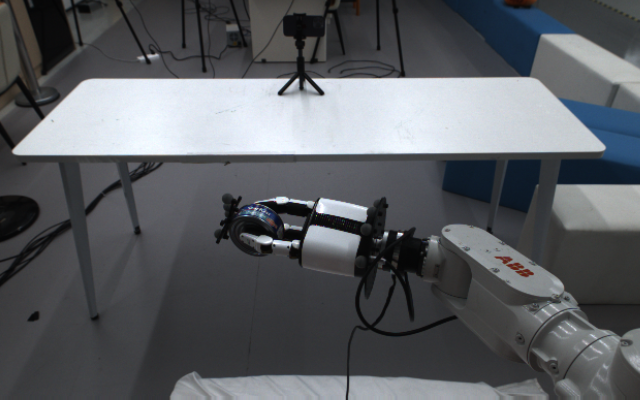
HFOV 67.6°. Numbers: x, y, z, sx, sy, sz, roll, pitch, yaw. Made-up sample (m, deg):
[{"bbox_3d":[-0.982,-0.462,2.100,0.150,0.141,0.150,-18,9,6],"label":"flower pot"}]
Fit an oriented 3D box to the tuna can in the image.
[{"bbox_3d":[-0.101,0.054,0.776,0.085,0.085,0.034,10,36,11],"label":"tuna can"}]
